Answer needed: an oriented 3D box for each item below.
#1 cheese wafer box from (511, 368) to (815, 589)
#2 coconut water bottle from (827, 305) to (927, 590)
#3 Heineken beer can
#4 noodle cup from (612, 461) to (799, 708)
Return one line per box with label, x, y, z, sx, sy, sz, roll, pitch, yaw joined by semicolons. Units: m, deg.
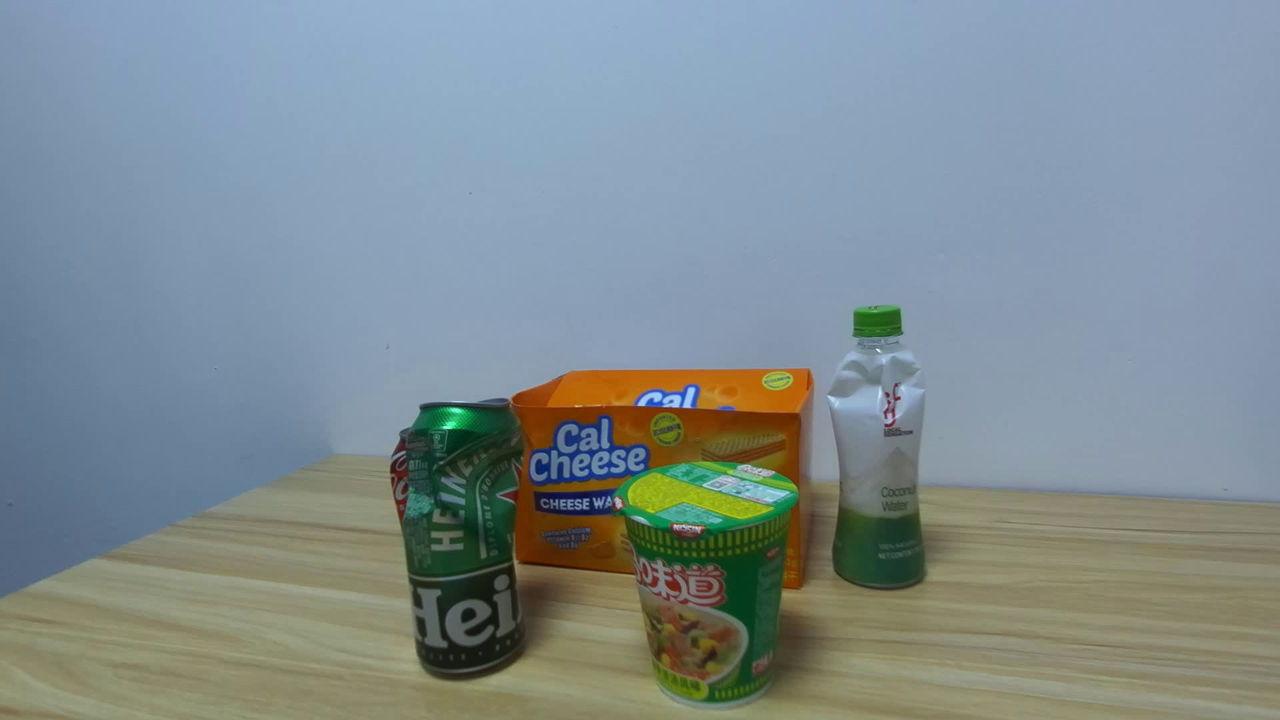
cheese wafer box;0.019;0.084;0.568;0.230;0.132;0.152;1;13;17
coconut water bottle;0.162;0.059;0.486;0.069;0.186;0.069;-5;11;1
Heineken beer can;-0.103;0.104;0.424;0.067;0.159;0.078;-2;2;-6
noodle cup;0.037;0.122;0.390;0.097;0.110;0.097;-3;13;1
